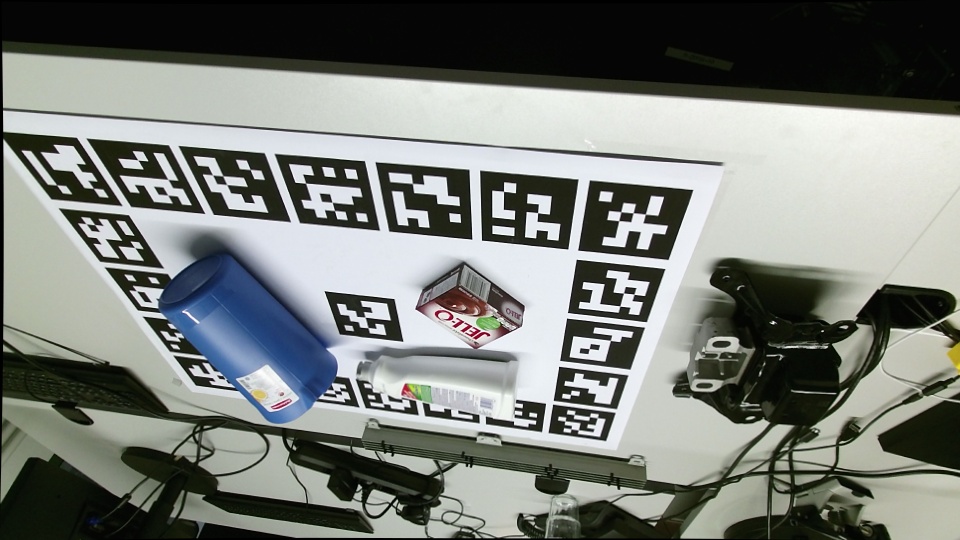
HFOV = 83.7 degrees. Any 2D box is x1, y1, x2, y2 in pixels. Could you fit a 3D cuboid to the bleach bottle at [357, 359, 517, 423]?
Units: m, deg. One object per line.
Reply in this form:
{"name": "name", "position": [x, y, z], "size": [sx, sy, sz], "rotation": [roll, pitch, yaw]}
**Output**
{"name": "bleach bottle", "position": [-0.072, 0.173, 0.821], "size": [0.251, 0.067, 0.103], "rotation": [5, 131, 11]}

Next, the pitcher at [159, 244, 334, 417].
{"name": "pitcher", "position": [-0.334, 0.083, 0.766], "size": [0.188, 0.133, 0.243], "rotation": [17, 143, 48]}

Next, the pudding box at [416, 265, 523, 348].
{"name": "pudding box", "position": [-0.015, 0.051, 0.696], "size": [0.114, 0.038, 0.090], "rotation": [41, 135, -24]}
